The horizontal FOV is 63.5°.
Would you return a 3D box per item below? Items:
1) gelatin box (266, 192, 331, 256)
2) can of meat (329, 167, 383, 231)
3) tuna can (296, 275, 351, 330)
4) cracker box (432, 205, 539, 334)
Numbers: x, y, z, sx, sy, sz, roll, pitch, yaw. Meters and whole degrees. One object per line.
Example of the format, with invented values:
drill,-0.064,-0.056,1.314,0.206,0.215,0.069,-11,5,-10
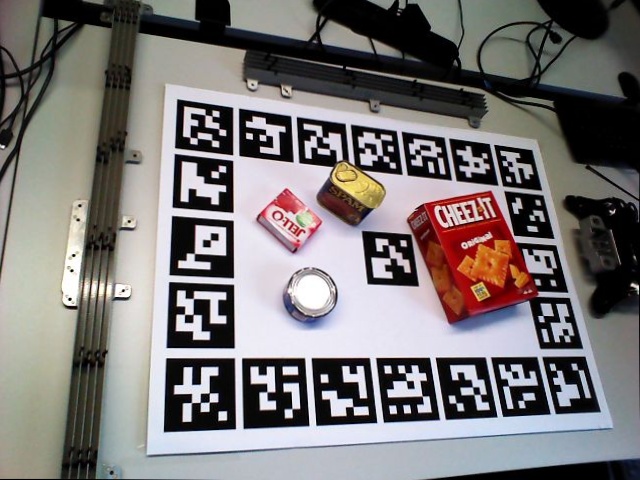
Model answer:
gelatin box,-0.036,-0.029,0.891,0.089,0.030,0.073,43,57,0
can of meat,0.073,-0.069,0.928,0.102,0.084,0.057,32,59,-3
tuna can,0.005,0.103,0.841,0.085,0.034,0.085,6,68,-17
cracker box,0.307,0.048,0.964,0.163,0.072,0.213,-11,70,-26
